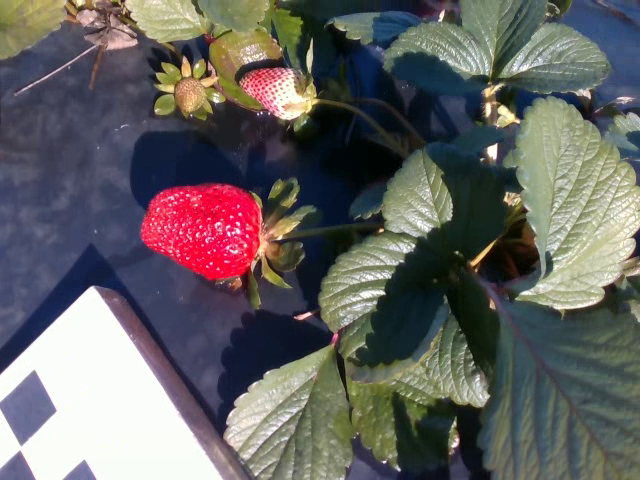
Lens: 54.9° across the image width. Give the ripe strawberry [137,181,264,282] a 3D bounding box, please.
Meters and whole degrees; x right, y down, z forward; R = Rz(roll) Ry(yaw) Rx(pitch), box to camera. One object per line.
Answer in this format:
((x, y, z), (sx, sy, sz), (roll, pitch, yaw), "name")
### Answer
((-0.053, -0.006, 0.273), (0.061, 0.066, 0.058), (11, -14, -43), "ripe strawberry")
